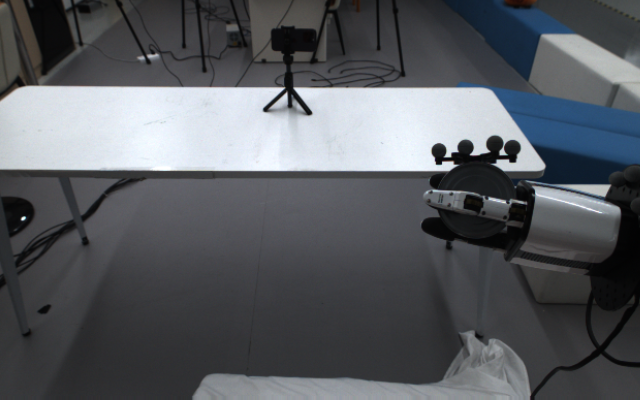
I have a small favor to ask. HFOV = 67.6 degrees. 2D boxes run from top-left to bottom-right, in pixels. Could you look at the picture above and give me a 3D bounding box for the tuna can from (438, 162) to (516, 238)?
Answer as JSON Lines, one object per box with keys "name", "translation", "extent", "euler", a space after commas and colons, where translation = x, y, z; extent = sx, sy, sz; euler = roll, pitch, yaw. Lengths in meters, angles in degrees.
{"name": "tuna can", "translation": [0.178, -0.001, 0.553], "extent": [0.085, 0.085, 0.034], "euler": [15, 2, 18]}
